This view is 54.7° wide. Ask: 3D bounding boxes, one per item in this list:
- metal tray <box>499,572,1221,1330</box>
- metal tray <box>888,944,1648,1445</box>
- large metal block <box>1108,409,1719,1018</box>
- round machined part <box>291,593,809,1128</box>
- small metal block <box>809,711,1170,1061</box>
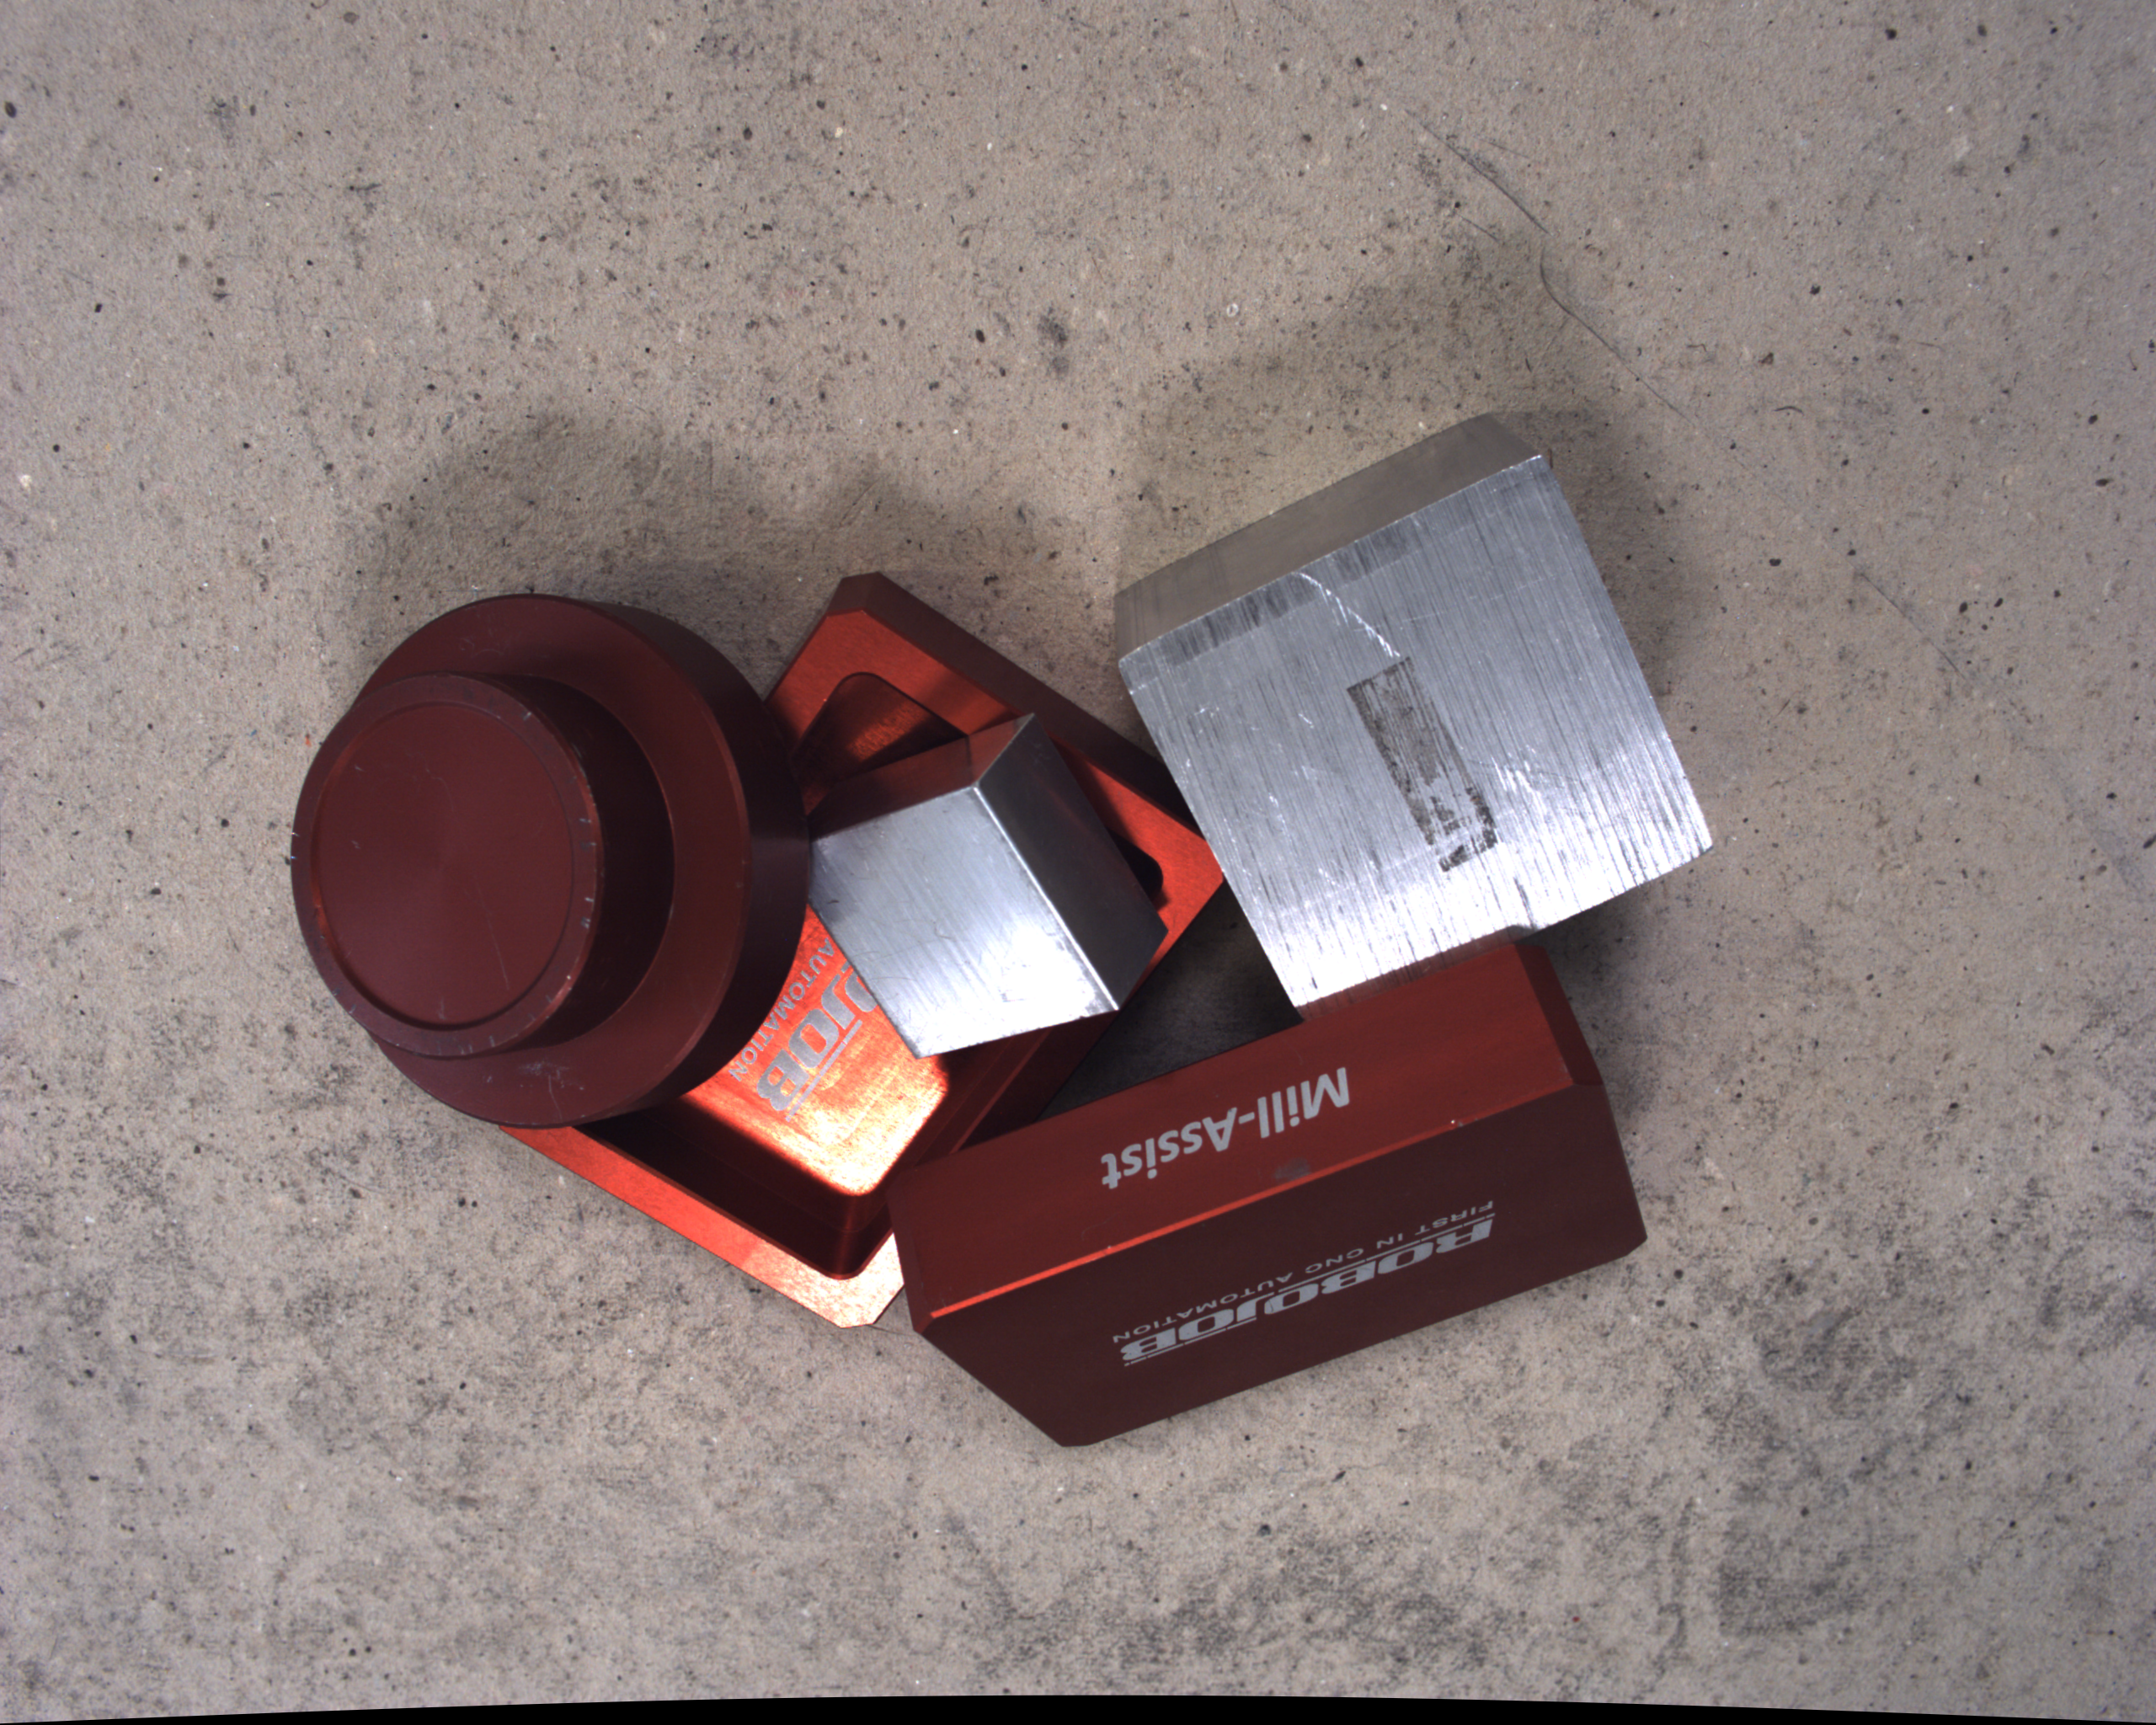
[{"bbox_3d":[-0.044,0.020,0.414,0.090,0.030,0.129,33,107,-12],"label":"metal tray"},{"bbox_3d":[0.040,0.069,0.410,0.130,0.030,0.090,-21,145,8],"label":"metal tray"},{"bbox_3d":[0.060,-0.028,0.388,0.080,0.050,0.080,-25,108,9],"label":"large metal block"},{"bbox_3d":[-0.102,0.000,0.378,0.098,0.042,0.097,1,91,24],"label":"round machined part"},{"bbox_3d":[-0.020,0.006,0.388,0.050,0.025,0.050,-17,114,36],"label":"small metal block"}]
